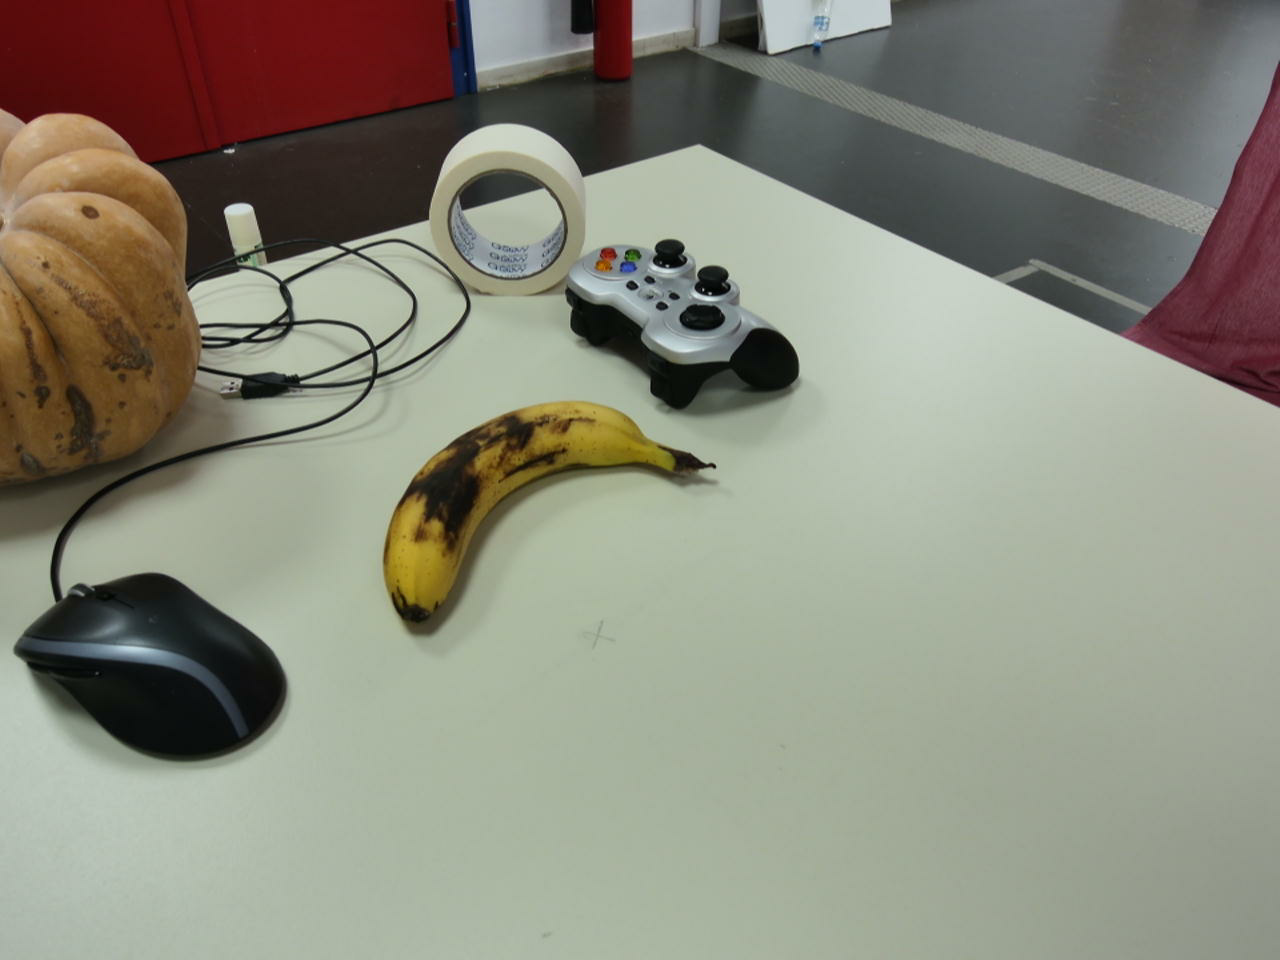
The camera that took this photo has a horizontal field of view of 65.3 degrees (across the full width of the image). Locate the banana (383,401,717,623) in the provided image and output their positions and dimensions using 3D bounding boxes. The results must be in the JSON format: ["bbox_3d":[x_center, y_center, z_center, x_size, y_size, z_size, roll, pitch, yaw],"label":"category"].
[{"bbox_3d":[-0.062,0.002,0.520,0.187,0.039,0.094,-26,45,-31],"label":"banana"}]
